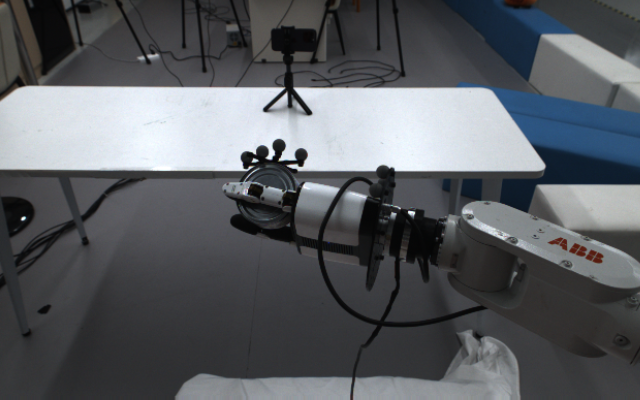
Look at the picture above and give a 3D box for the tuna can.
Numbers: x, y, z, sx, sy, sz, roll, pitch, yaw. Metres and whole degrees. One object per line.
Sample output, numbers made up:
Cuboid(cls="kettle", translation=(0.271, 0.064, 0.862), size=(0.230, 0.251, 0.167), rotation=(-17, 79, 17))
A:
Cuboid(cls="tuna can", translation=(-0.067, -0.005, 0.650), size=(0.085, 0.034, 0.085), rotation=(-5, 70, 14))
